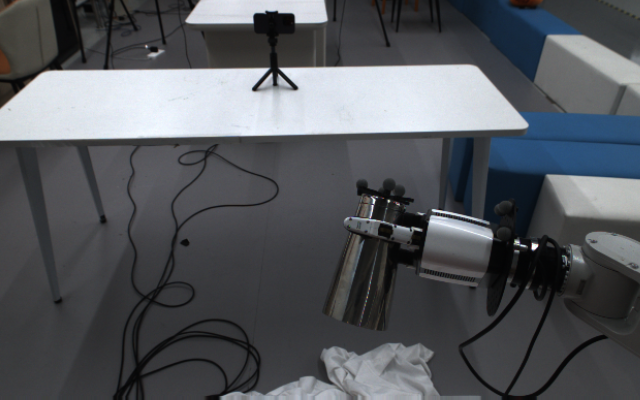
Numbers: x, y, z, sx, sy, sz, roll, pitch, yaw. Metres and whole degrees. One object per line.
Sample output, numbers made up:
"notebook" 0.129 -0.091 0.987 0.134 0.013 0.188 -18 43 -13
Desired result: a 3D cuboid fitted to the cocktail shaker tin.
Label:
"cocktail shaker tin" 0.070 0.082 0.675 0.093 0.170 0.093 15 -5 1
